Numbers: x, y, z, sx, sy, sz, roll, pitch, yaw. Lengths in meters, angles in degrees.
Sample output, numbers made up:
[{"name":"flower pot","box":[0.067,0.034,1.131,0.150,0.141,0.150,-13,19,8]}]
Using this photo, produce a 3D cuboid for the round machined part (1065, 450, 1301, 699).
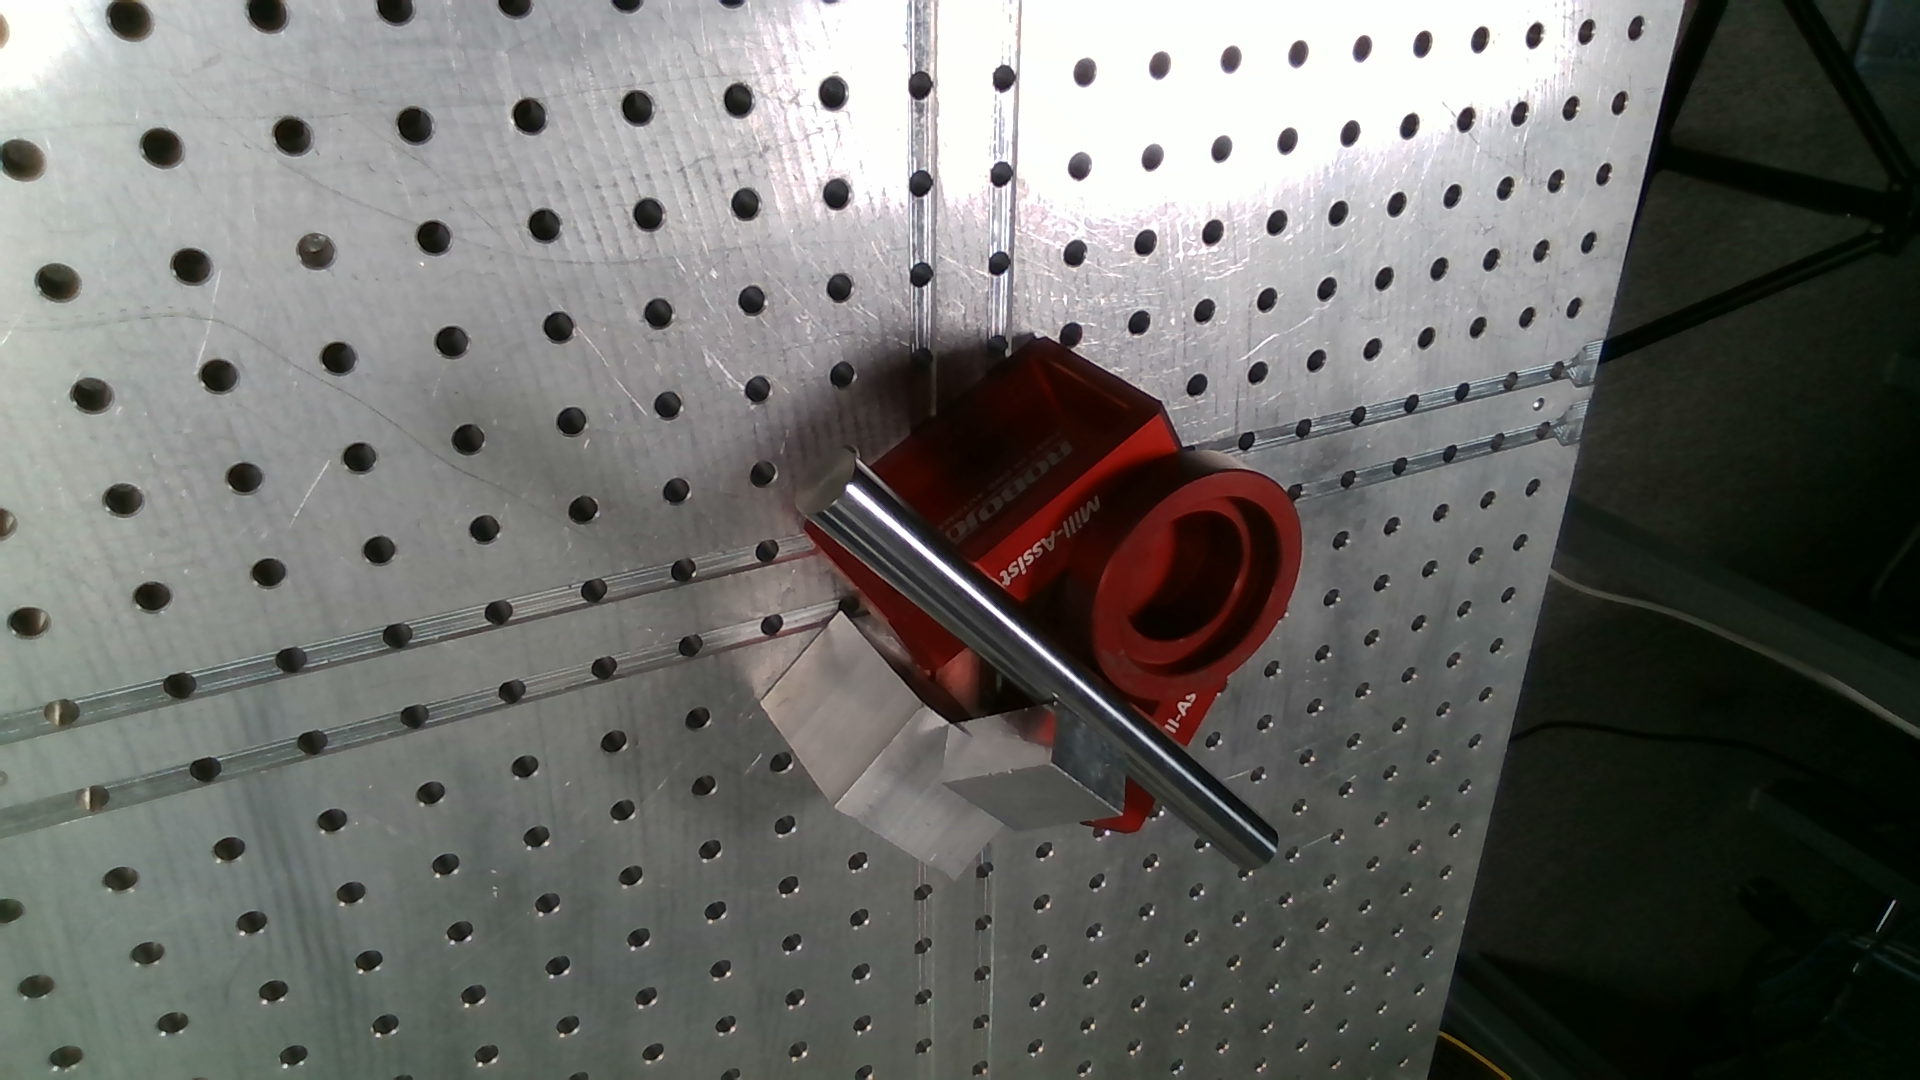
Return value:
[{"name":"round machined part","box":[0.082,0.009,0.540,0.098,0.042,0.098,-14,122,-25]}]

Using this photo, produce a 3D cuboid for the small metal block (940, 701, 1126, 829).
[{"name":"small metal block","box":[0.029,0.088,0.527,0.050,0.050,0.025,40,46,-39]}]

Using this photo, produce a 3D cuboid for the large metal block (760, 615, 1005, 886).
[{"name":"large metal block","box":[-0.026,0.088,0.576,0.050,0.080,0.080,-49,129,0]}]

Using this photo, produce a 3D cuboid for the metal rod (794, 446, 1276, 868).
[{"name":"metal rod","box":[0.044,0.059,0.526,0.025,0.025,0.301,-48,129,0]}]

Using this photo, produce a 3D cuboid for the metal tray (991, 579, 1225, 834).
[{"name":"metal tray","box":[0.073,0.052,0.614,0.030,0.090,0.130,20,104,-36]}]

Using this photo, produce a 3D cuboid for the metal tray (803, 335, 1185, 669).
[{"name":"metal tray","box":[0.012,-0.019,0.539,0.130,0.090,0.030,-39,129,-8]}]
